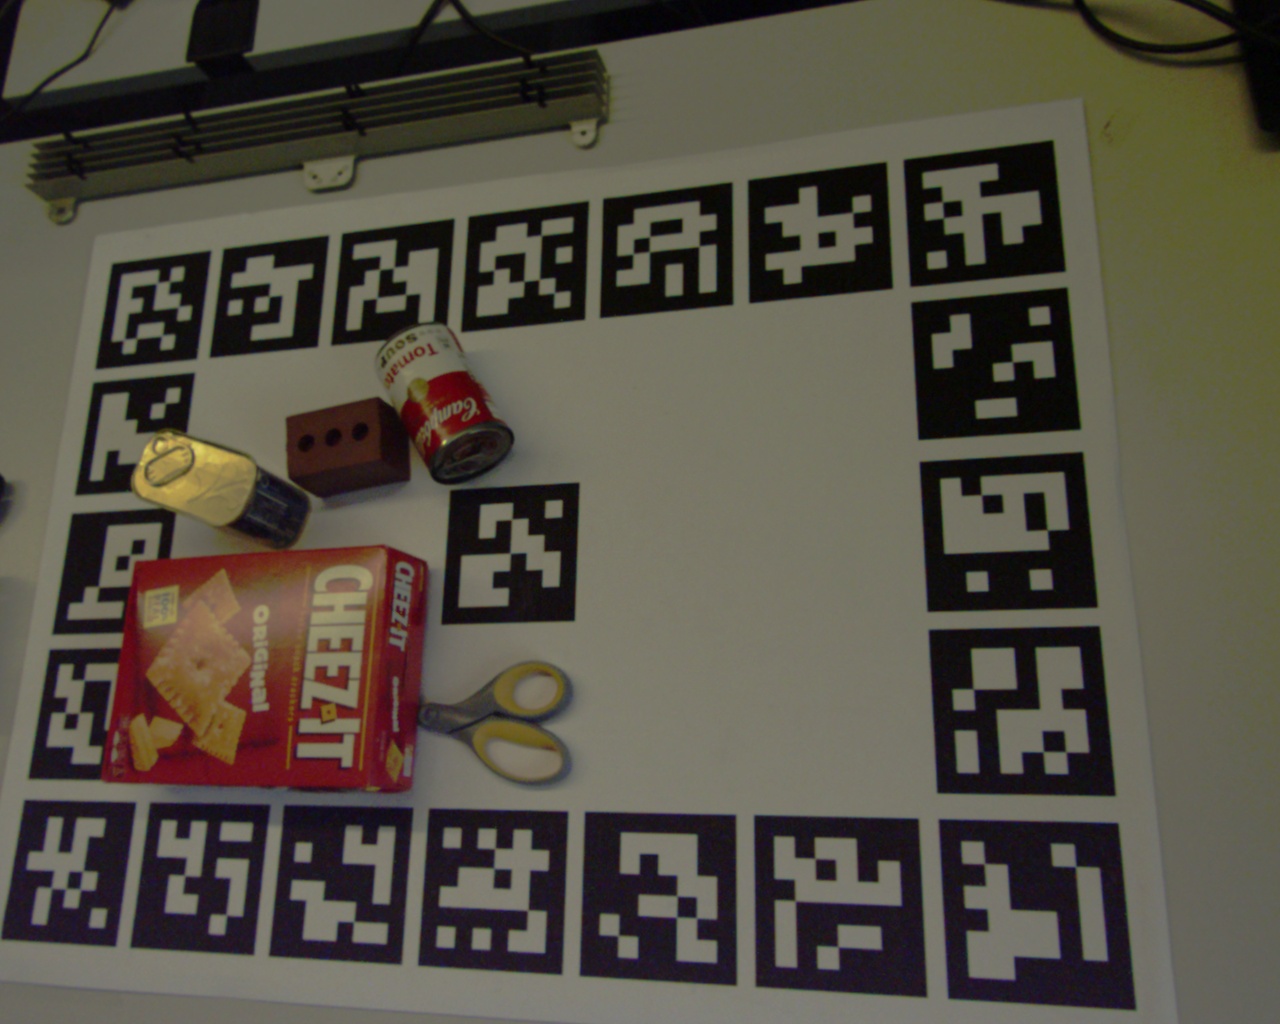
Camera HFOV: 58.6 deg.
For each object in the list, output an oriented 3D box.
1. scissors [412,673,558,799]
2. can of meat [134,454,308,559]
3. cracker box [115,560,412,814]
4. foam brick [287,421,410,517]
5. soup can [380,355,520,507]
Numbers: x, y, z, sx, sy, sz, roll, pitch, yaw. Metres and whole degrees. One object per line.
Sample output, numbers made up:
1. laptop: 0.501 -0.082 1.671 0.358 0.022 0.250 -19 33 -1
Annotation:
1. scissors: -0.158 0.167 0.825 0.204 0.016 0.088 -8 75 15
2. can of meat: -0.324 -0.001 0.891 0.103 0.083 0.058 12 80 18
3. cracker box: -0.277 0.131 0.836 0.215 0.071 0.164 -9 73 18
4. foam brick: -0.226 -0.032 0.890 0.078 0.051 0.053 -13 74 12
5. soup can: -0.147 -0.063 0.873 0.068 0.067 0.103 -39 64 4
